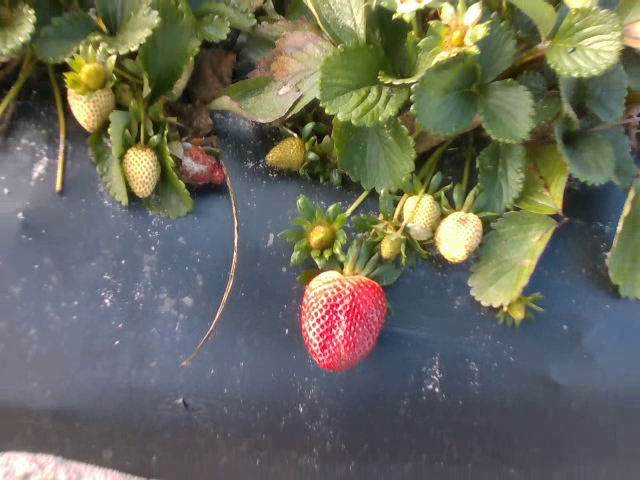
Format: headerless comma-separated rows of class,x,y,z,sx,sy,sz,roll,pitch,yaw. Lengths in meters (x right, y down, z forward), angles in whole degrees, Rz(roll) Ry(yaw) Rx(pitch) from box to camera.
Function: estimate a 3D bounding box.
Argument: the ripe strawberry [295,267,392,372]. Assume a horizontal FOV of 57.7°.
ripe strawberry,0.012,0.050,0.342,0.052,0.068,0.045,12,-36,-4
